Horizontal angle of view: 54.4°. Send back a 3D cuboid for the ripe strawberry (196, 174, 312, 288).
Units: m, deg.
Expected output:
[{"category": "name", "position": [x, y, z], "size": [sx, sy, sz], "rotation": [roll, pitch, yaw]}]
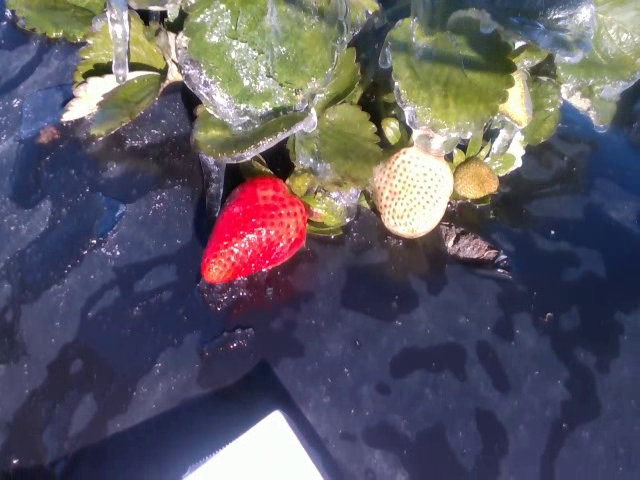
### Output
[{"category": "ripe strawberry", "position": [-0.031, -0.006, 0.240], "size": [0.041, 0.052, 0.040], "rotation": [33, -22, 22]}]
